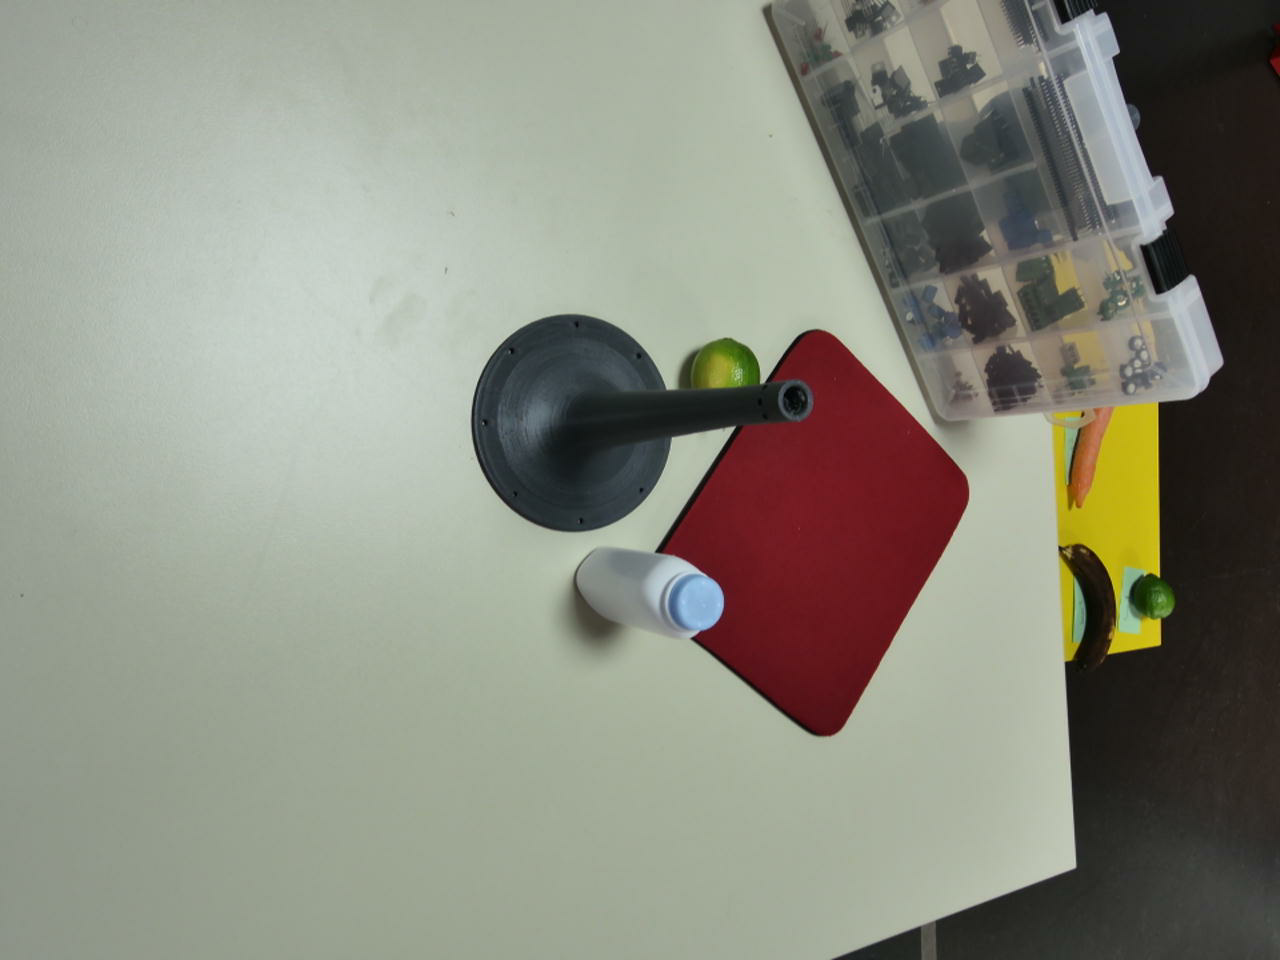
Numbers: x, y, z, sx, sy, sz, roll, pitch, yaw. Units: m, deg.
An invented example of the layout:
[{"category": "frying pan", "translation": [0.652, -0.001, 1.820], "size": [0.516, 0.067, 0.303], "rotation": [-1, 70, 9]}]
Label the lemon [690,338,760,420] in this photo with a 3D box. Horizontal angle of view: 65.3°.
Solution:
[{"category": "lemon", "translation": [0.062, -0.074, 0.729], "size": [0.055, 0.050, 0.054], "rotation": [-48, 111, -19]}]
